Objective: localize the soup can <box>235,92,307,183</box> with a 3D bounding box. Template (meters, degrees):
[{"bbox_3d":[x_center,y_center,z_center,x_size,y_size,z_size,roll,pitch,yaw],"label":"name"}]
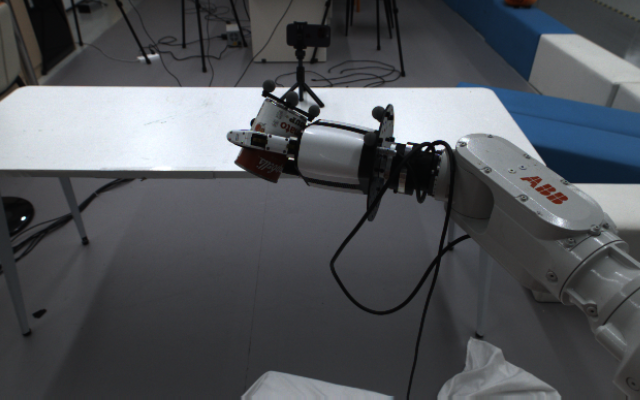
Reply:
[{"bbox_3d":[-0.069,-0.083,0.683,0.067,0.101,0.067,27,6,-3],"label":"soup can"}]
